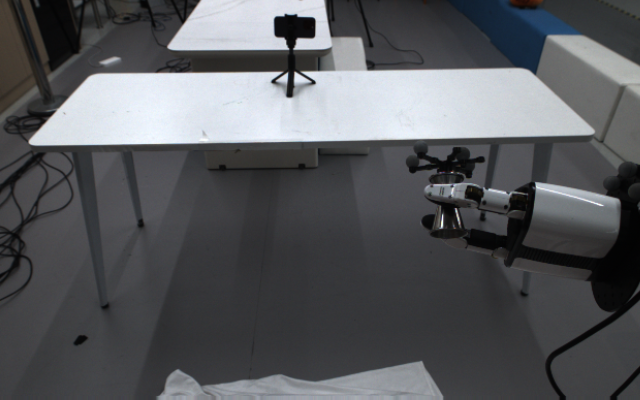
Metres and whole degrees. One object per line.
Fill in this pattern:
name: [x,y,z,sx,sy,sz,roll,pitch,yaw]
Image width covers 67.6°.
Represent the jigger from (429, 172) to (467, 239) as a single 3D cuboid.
jigger: [0.145,0.005,0.557,0.043,0.043,0.071,3,72,1]
